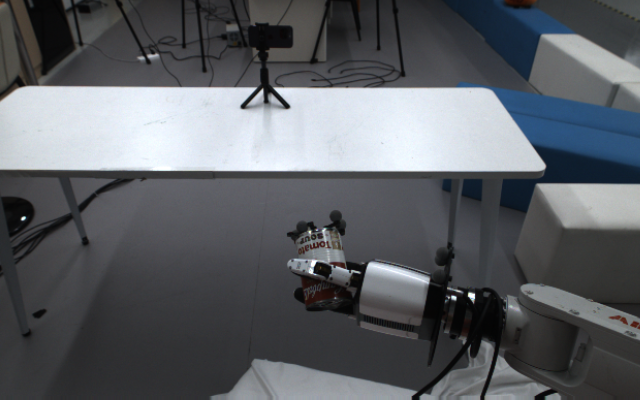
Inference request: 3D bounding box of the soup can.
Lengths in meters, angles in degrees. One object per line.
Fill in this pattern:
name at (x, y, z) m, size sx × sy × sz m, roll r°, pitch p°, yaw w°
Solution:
soup can at (0.007, 0.099, 0.677) m, size 0.067 × 0.067 × 0.101 m, roll -6°, pitch 67°, yaw -12°
